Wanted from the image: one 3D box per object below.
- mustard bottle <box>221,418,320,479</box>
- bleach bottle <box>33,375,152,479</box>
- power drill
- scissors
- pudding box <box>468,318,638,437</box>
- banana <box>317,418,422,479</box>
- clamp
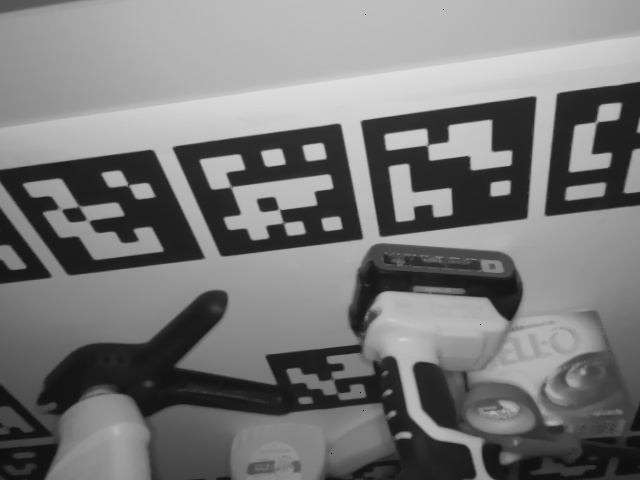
[{"bbox_3d":[-0.050,0.253,0.619,0.096,0.193,0.057,7,134,-6],"label":"mustard bottle"},{"bbox_3d":[-0.170,0.194,0.492,0.102,0.252,0.068,-22,135,10],"label":"bleach bottle"},{"bbox_3d":[0.113,0.106,0.438,0.186,0.188,0.056,4,141,-9],"label":"power drill"},{"bbox_3d":[0.189,0.158,0.508,0.204,0.016,0.086,17,127,-11],"label":"scissors"},{"bbox_3d":[0.179,0.108,0.550,0.114,0.091,0.038,0,141,0],"label":"pudding box"},{"bbox_3d":[0.059,0.211,0.673,0.194,0.039,0.075,-36,142,28],"label":"banana"},{"bbox_3d":[-0.137,0.107,0.556,0.202,0.037,0.164,-8,132,8],"label":"clamp"}]
